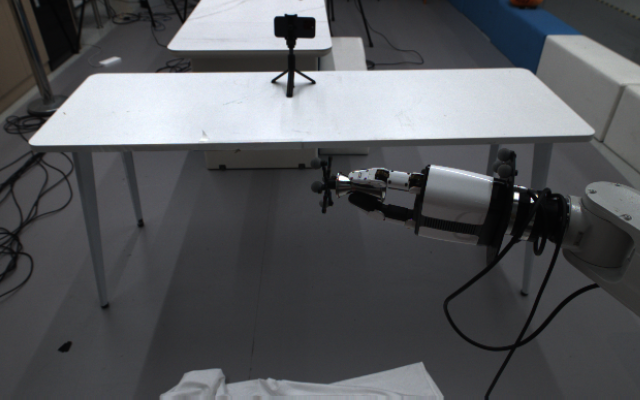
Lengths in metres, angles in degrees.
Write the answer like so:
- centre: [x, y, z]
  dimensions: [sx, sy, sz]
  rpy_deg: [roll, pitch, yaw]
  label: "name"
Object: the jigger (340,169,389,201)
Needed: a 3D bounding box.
- centre: [0.067, -0.025, 0.704]
  dimensions: [0.071, 0.043, 0.043]
  rpy_deg: [3, 34, 14]
  label: "jigger"
